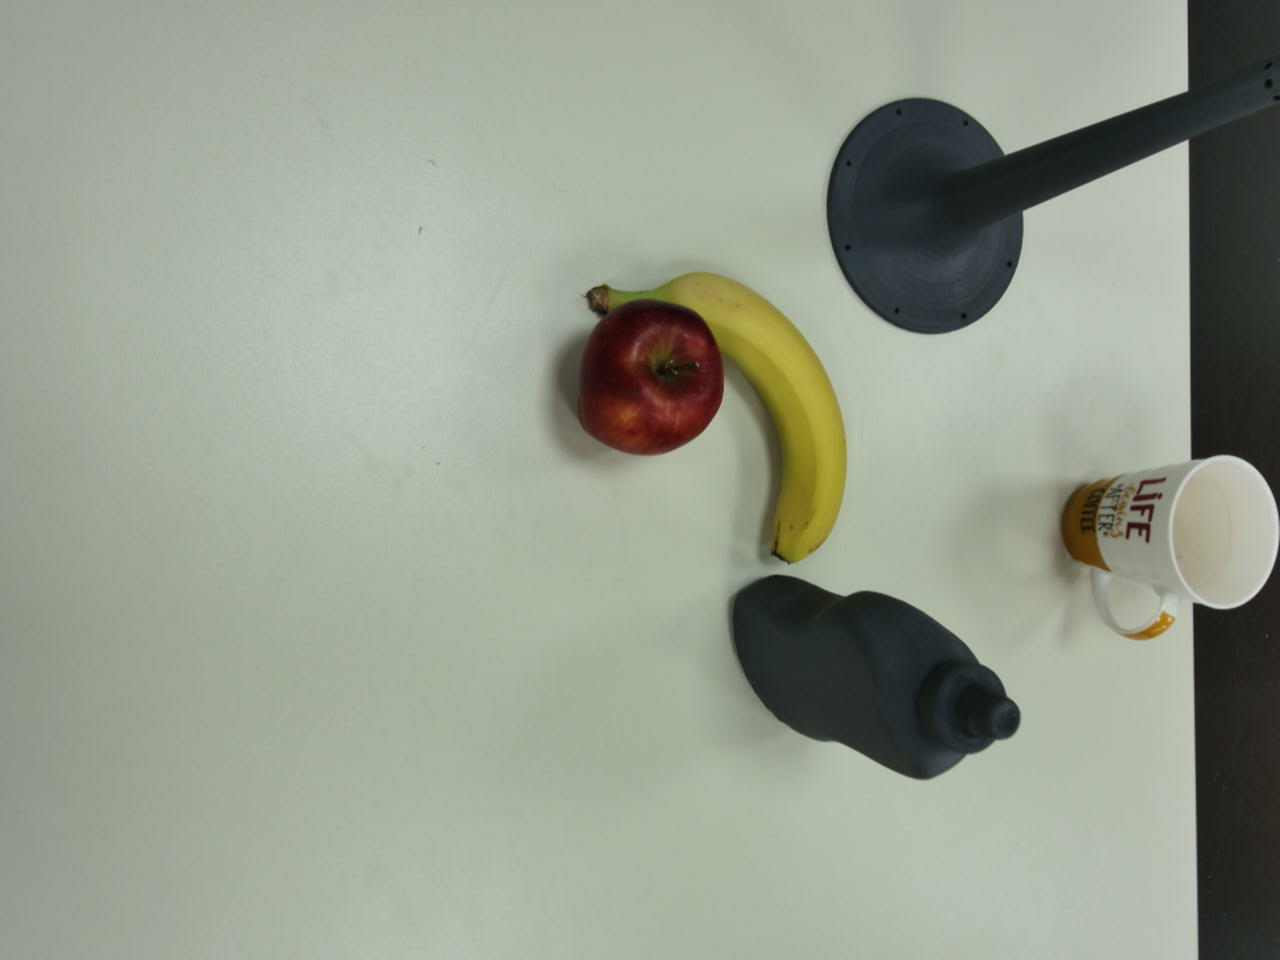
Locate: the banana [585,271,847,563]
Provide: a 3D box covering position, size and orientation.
[{"bbox_3d":[0.064,-0.052,0.580,0.094,0.041,0.196,-39,103,-17],"label":"banana"}]
